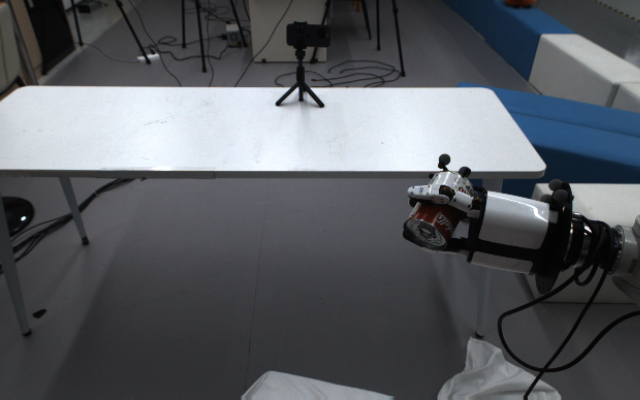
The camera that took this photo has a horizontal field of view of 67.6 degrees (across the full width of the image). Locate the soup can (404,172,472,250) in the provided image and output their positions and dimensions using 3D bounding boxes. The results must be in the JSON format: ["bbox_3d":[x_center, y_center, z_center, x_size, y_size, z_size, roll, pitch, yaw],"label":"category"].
[{"bbox_3d":[0.177,0.013,0.709,0.067,0.067,0.101,22,61,26],"label":"soup can"}]
